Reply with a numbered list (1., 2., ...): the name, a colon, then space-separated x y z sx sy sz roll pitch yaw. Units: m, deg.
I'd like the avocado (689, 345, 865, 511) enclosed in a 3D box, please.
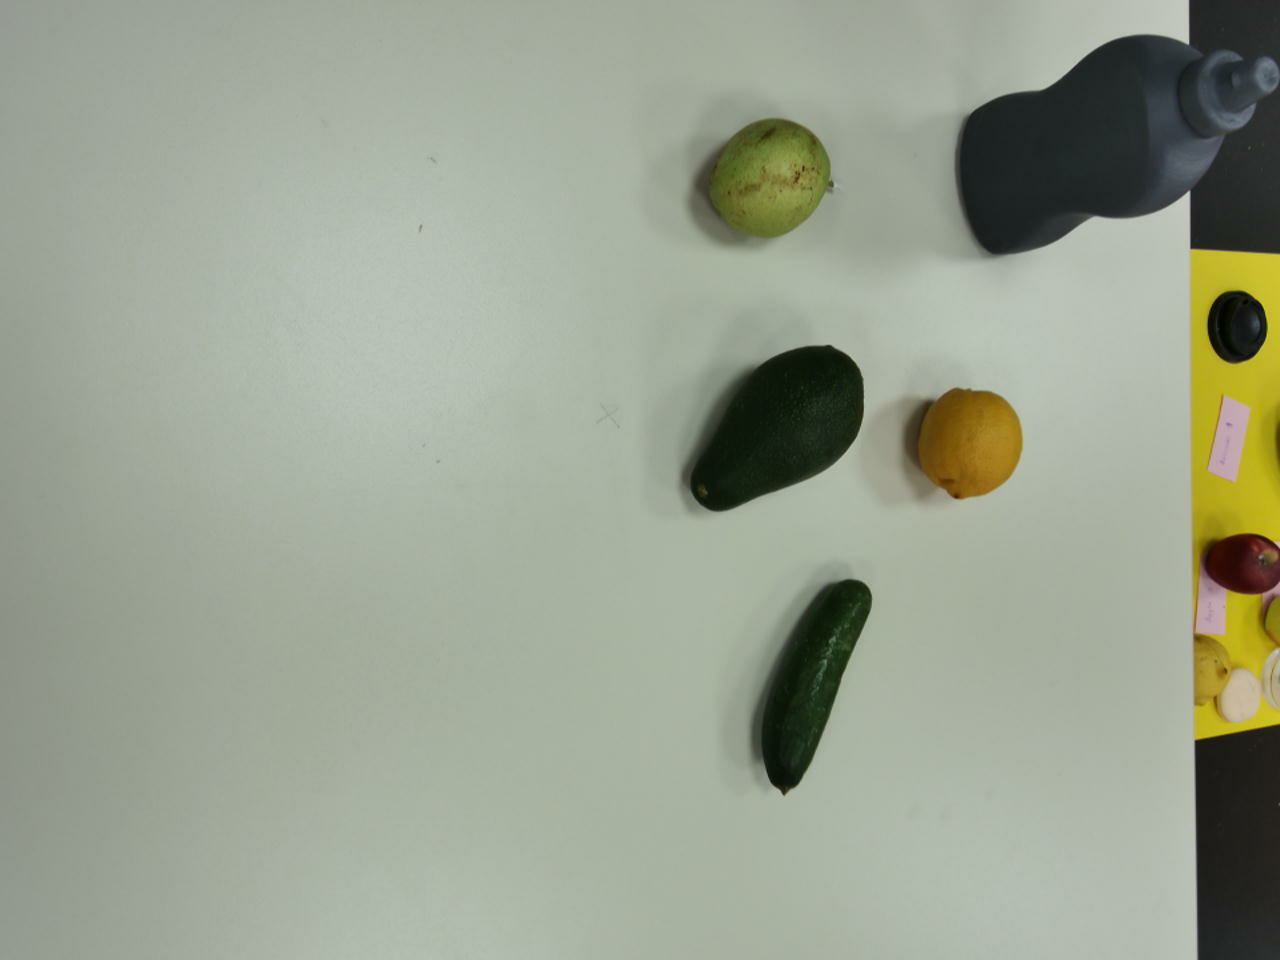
1. avocado: 0.078 -0.032 0.565 0.109 0.071 0.072 -24 99 -20
